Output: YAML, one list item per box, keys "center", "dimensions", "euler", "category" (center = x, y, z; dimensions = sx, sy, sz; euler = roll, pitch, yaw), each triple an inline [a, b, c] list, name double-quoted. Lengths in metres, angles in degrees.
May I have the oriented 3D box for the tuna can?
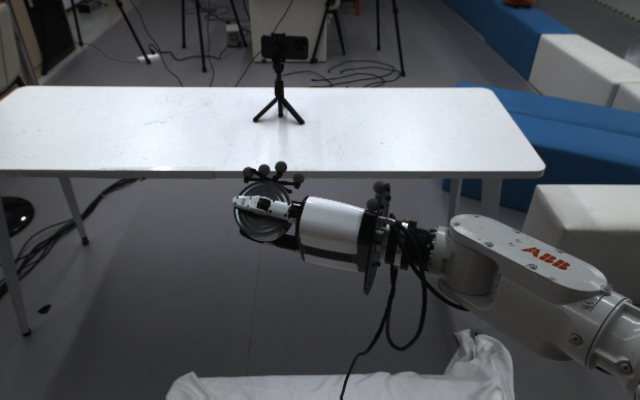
- center: [-0.081, 0.016, 0.712]
  dimensions: [0.085, 0.034, 0.085]
  euler: [-3, 69, 8]
  category: "tuna can"
